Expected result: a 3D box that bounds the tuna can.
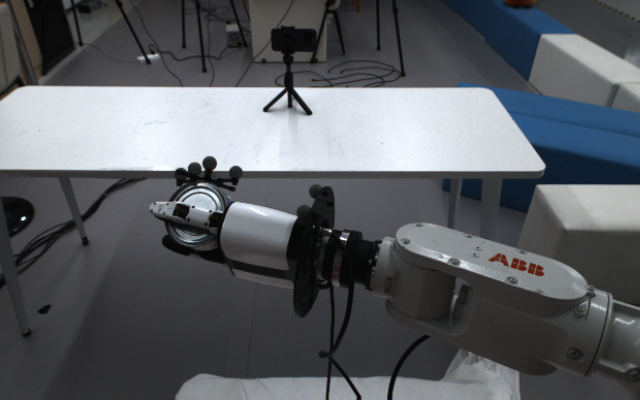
[{"bbox_3d":[-0.150,0.021,0.615,0.085,0.034,0.085,-5,70,14],"label":"tuna can"}]
